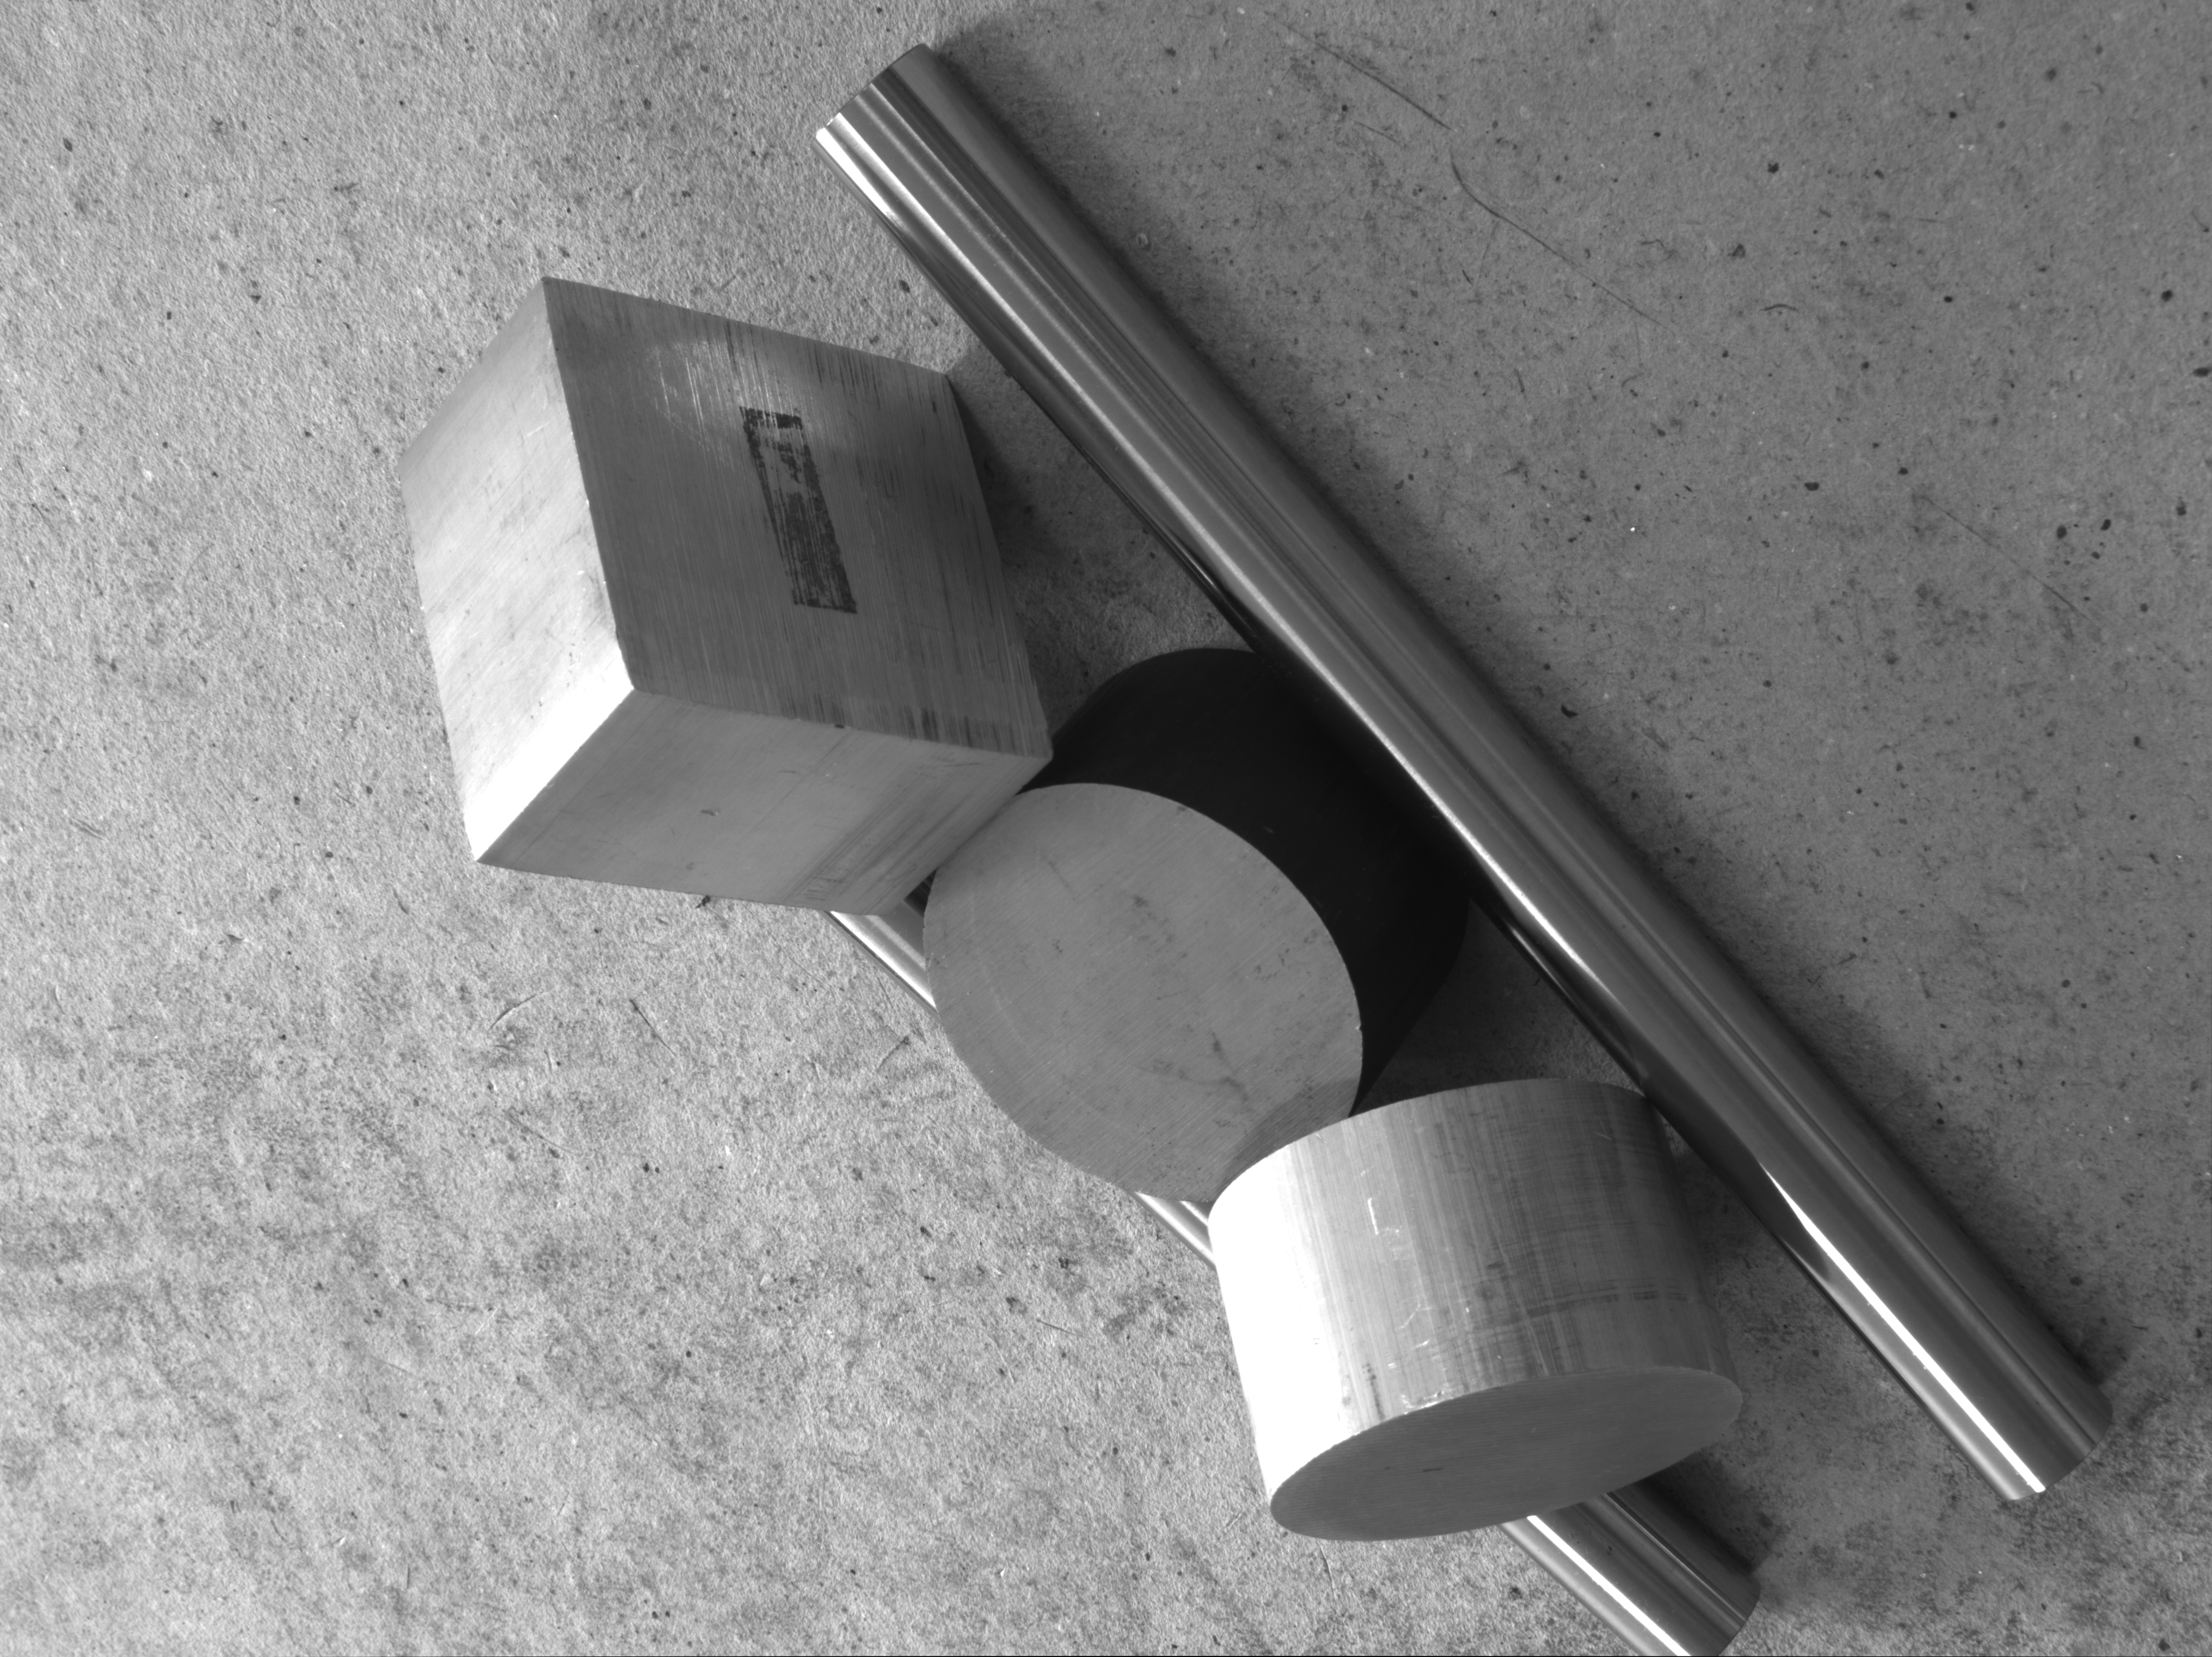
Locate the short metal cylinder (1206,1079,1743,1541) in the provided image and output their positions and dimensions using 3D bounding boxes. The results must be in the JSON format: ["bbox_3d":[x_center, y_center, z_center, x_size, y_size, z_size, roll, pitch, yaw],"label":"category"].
[{"bbox_3d":[0.061,0.082,0.617,0.080,0.080,0.050,-36,55,39],"label":"short metal cylinder"}]

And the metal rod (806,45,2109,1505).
[{"bbox_3d":[0.060,-0.006,0.606,0.300,0.025,0.025,48,129,-6],"label":"metal rod"}]

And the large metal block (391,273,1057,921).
[{"bbox_3d":[-0.063,-0.036,0.600,0.050,0.080,0.080,-42,52,39],"label":"large metal block"}]

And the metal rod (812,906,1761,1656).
[{"bbox_3d":[0.000,0.047,0.671,0.300,0.025,0.025,42,129,-1],"label":"metal rod"}]

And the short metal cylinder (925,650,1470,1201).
[{"bbox_3d":[0.016,0.016,0.628,0.080,0.050,0.080,13,124,21],"label":"short metal cylinder"}]
